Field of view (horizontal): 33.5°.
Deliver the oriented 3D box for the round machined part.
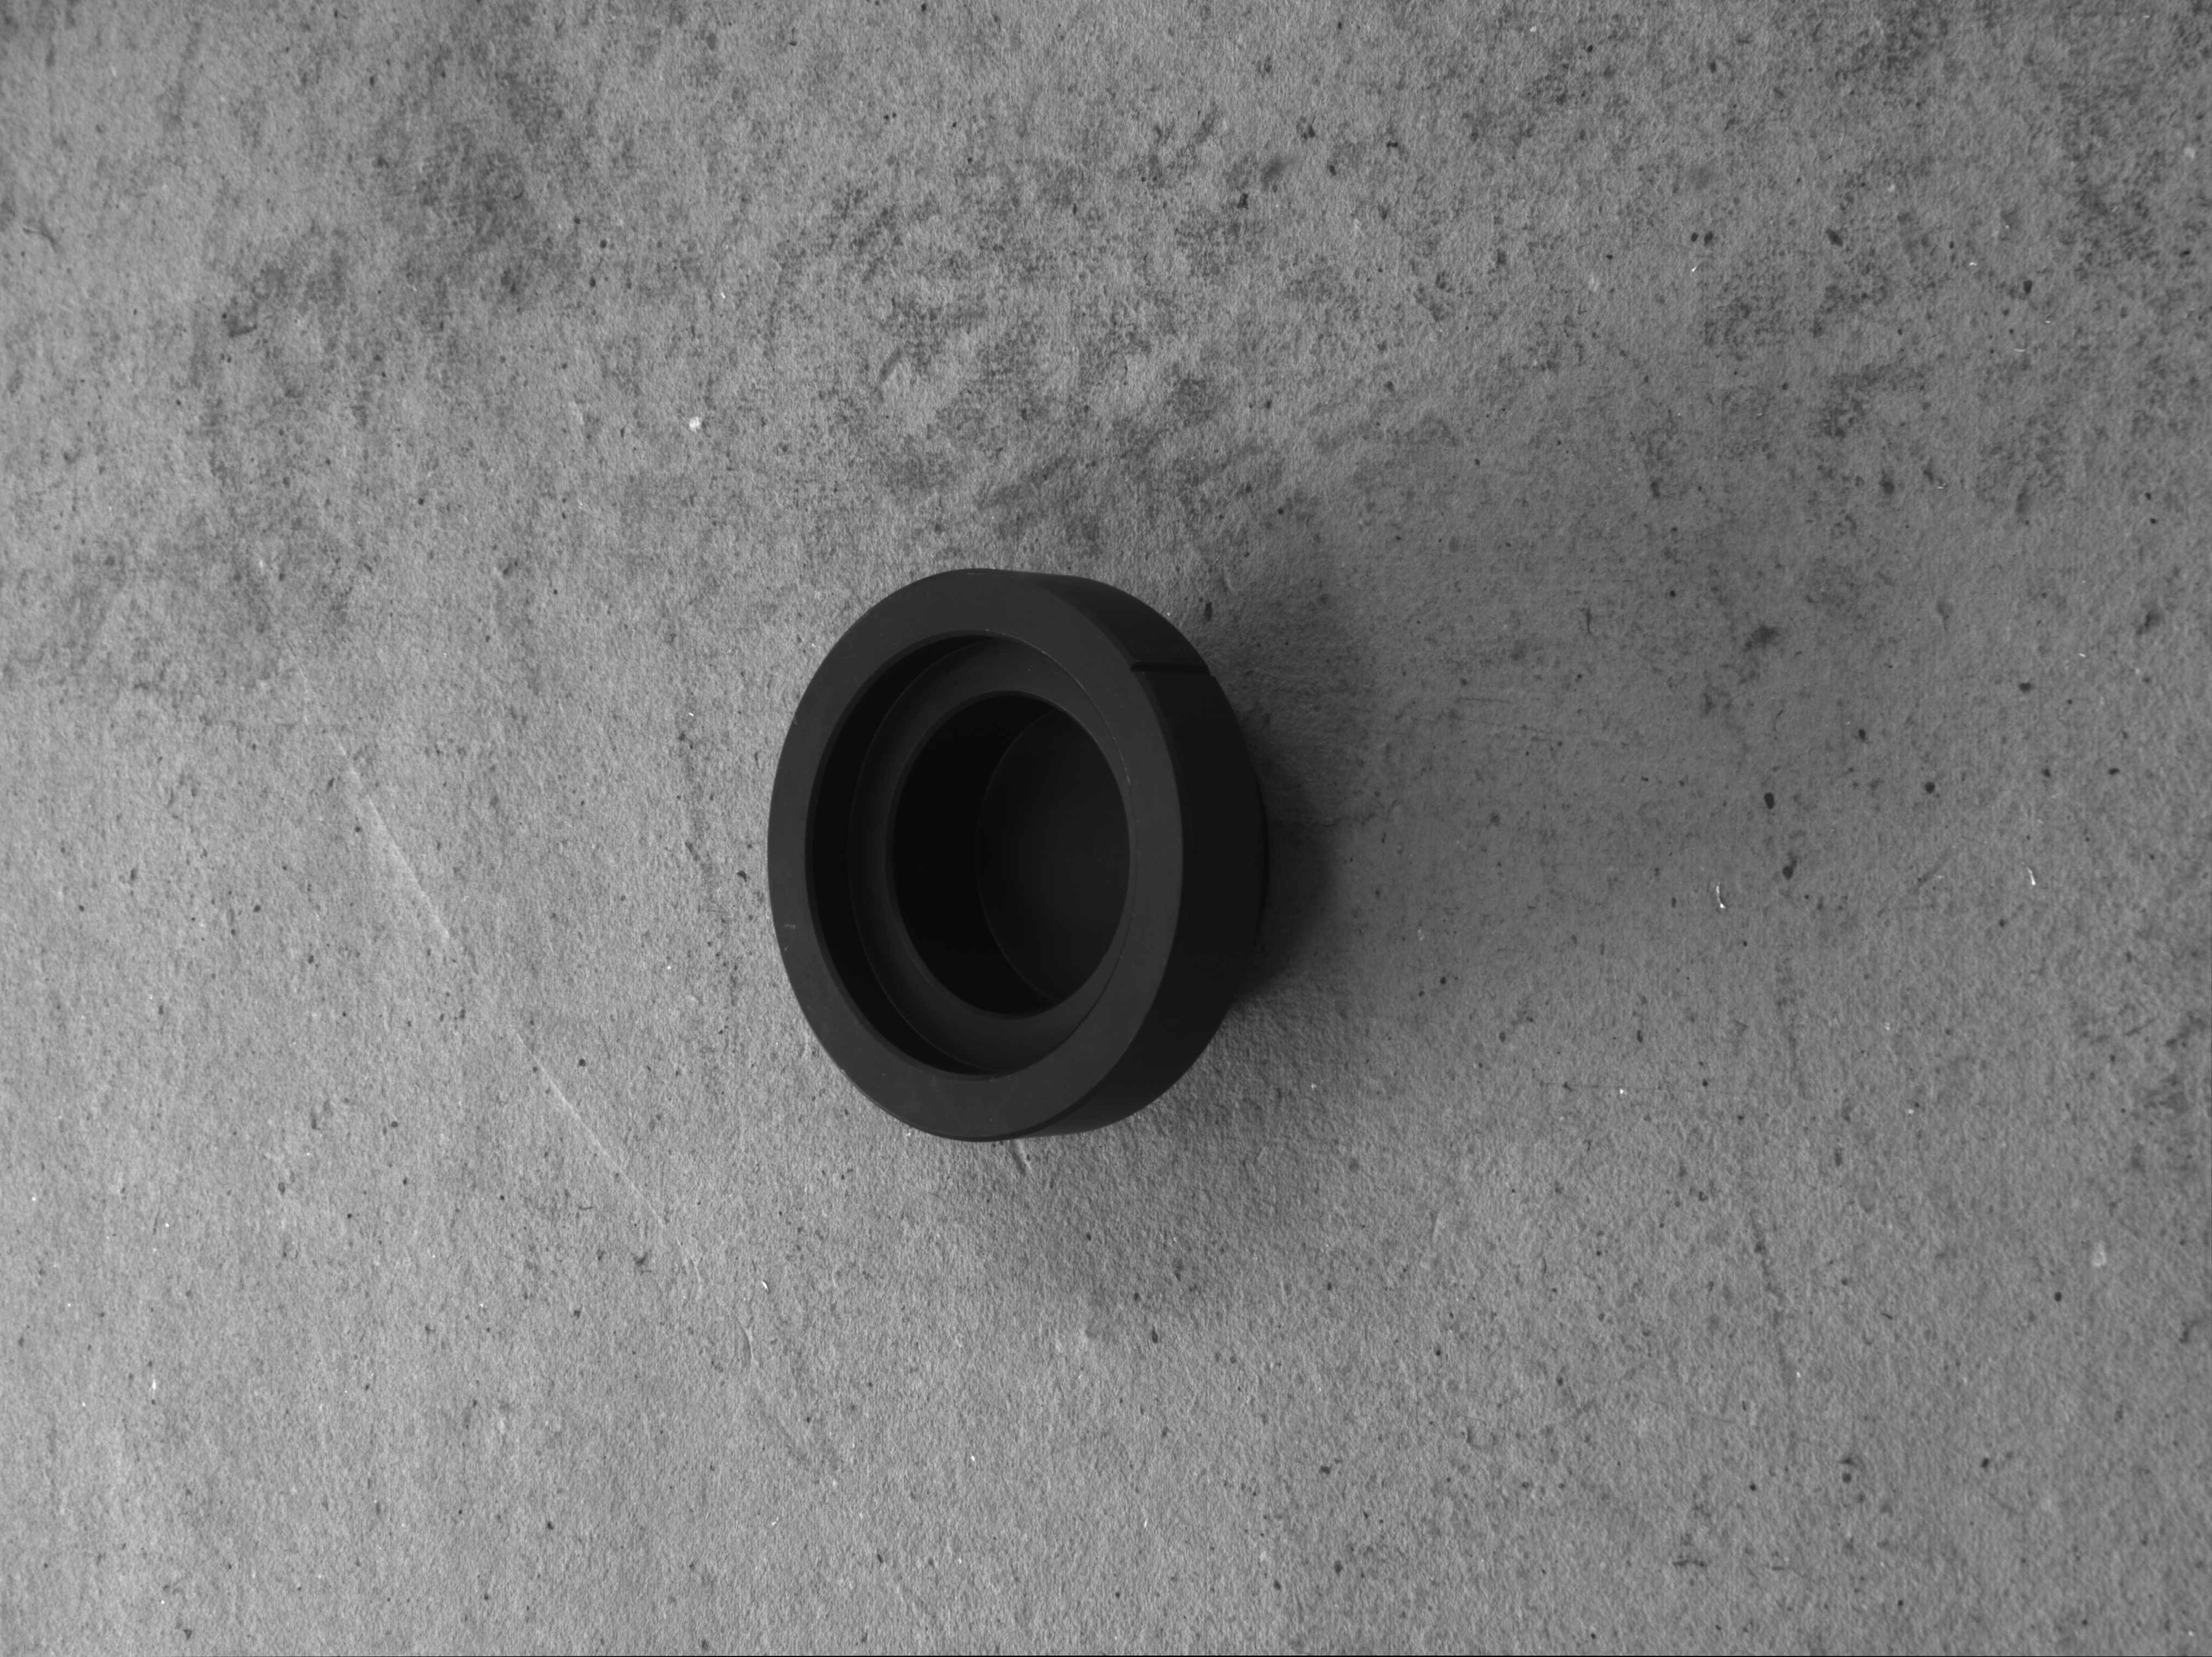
[{"bbox_3d":[-0.010,0.005,0.644,0.098,0.042,0.098,0,90,40],"label":"round machined part"}]
